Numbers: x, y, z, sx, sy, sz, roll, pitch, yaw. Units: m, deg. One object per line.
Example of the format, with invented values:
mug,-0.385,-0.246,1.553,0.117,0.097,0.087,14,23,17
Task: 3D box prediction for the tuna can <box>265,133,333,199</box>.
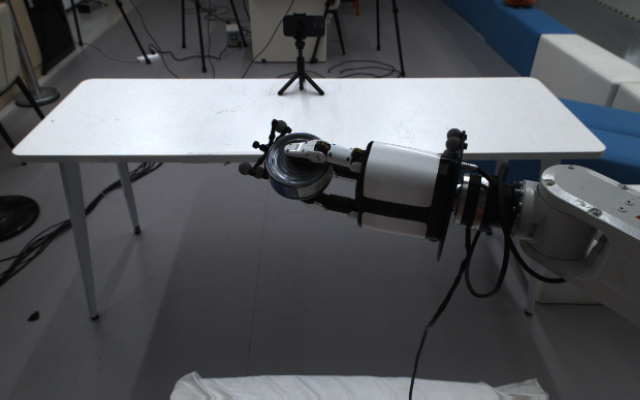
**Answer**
tuna can,-0.023,-0.041,0.624,0.085,0.034,0.085,-1,62,1
